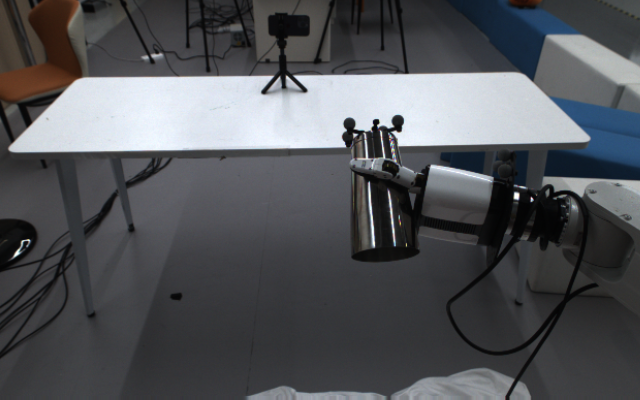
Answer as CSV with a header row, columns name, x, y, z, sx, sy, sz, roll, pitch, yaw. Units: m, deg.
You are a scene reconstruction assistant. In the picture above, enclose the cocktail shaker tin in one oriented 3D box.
name,x,y,z,sx,sy,sz,roll,pitch,yaw
cocktail shaker tin,0.083,-0.007,0.673,0.093,0.093,0.170,-2,71,-6
